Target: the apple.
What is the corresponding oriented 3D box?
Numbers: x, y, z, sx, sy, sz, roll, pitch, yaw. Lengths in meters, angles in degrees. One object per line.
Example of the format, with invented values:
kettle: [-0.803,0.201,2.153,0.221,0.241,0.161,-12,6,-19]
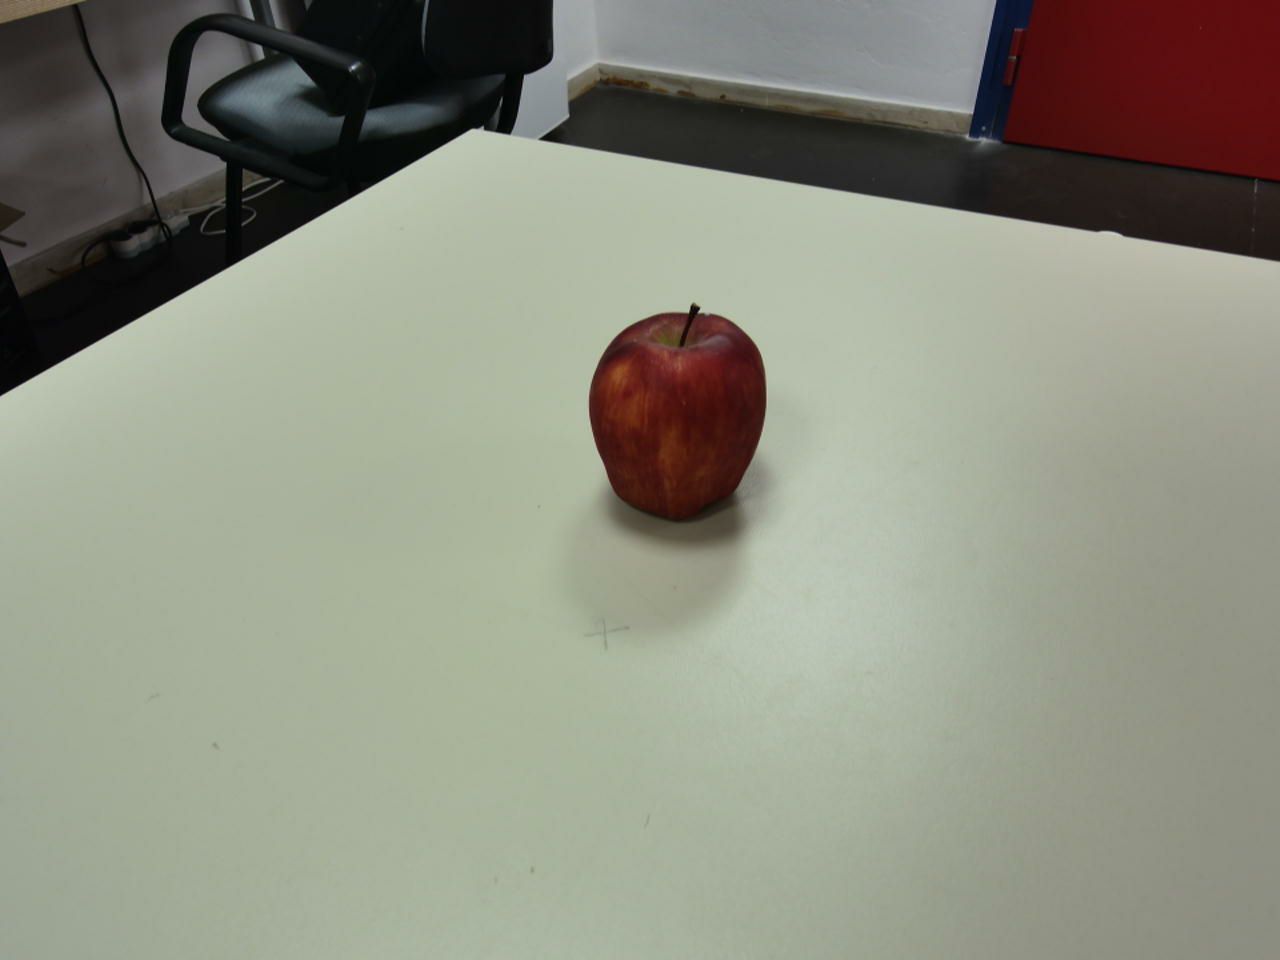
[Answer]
apple: [0.017,-0.034,0.429,0.083,0.090,0.083,0,37,0]
